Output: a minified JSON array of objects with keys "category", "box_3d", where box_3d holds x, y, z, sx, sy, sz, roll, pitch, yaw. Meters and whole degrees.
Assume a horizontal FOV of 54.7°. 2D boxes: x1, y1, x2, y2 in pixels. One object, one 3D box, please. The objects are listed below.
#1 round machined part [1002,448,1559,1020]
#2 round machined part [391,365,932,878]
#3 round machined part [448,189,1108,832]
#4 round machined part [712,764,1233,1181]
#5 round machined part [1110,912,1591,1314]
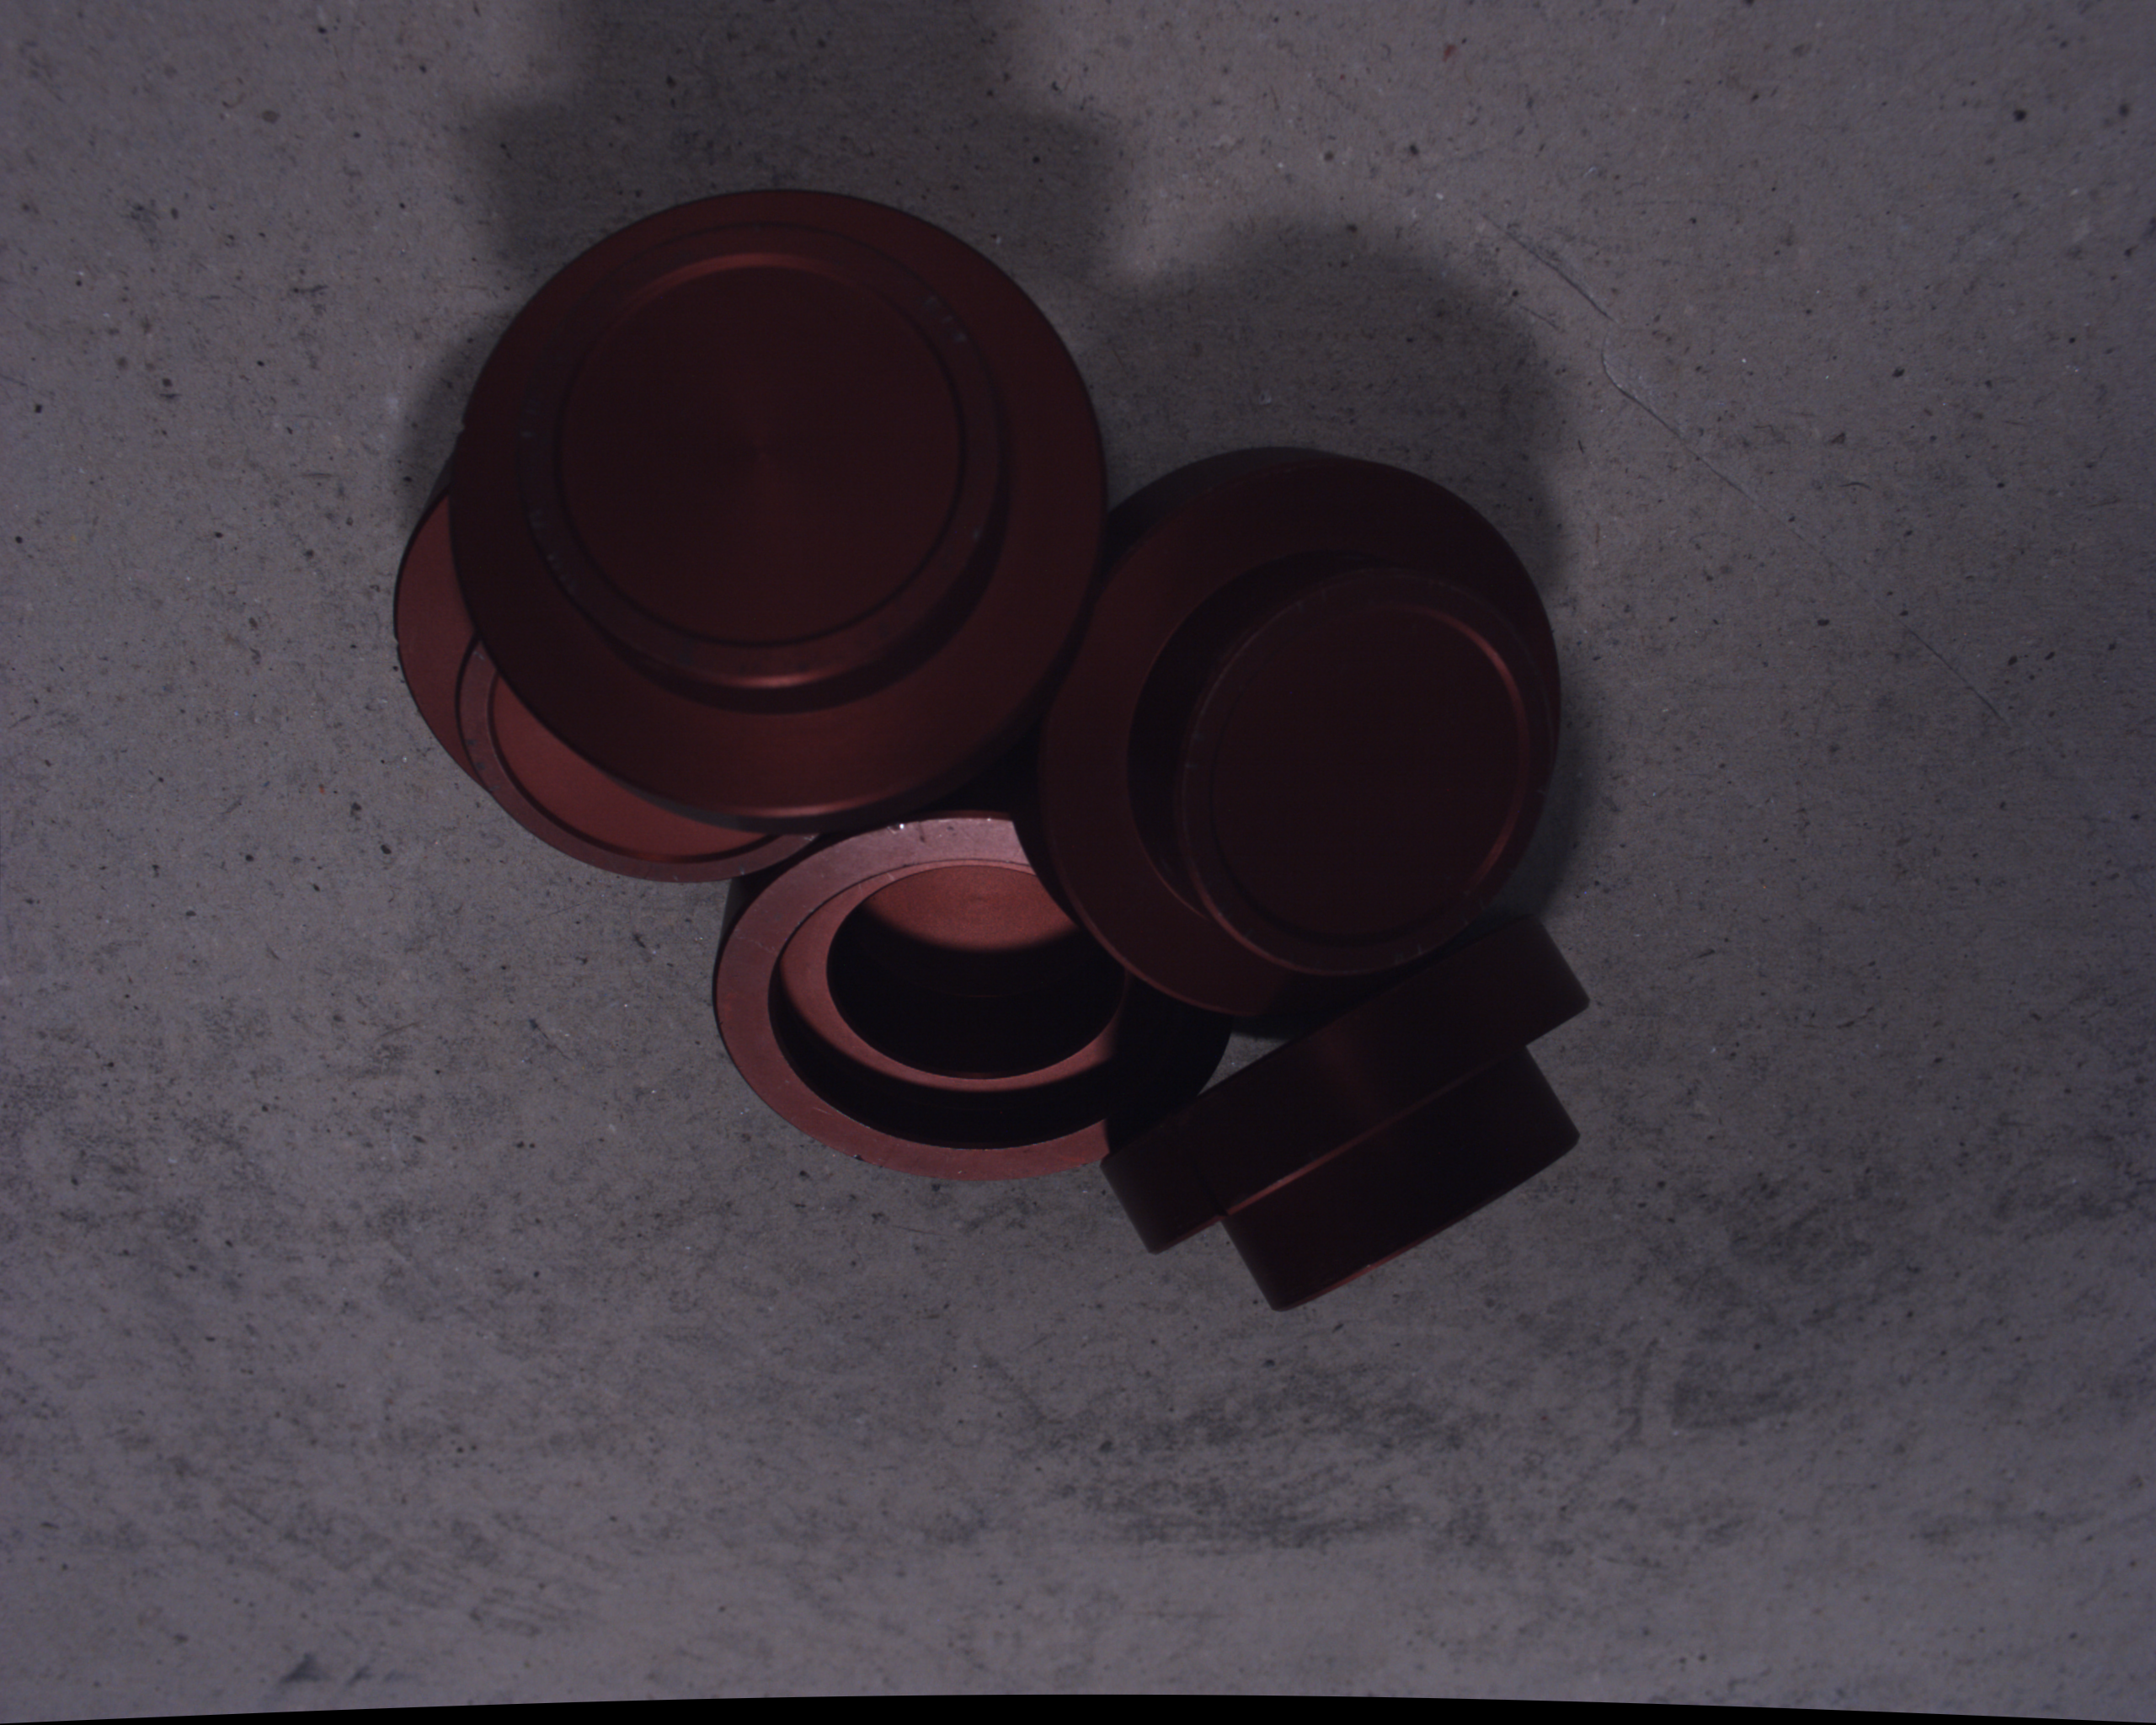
[{"category":"round machined part","box_3d":[0.040,-0.019,0.353,0.099,0.042,0.097,-6,108,-20]},{"category":"round machined part","box_3d":[-0.071,-0.036,0.368,0.099,0.042,0.097,-1,130,0]},{"category":"round machined part","box_3d":[-0.045,-0.055,0.312,0.099,0.097,0.042,1,172,-1]},{"category":"round machined part","box_3d":[-0.020,0.015,0.410,0.099,0.042,0.097,-1,130,0]},{"category":"round machined part","box_3d":[0.058,0.052,0.407,0.098,0.099,0.042,-35,81,26]}]
